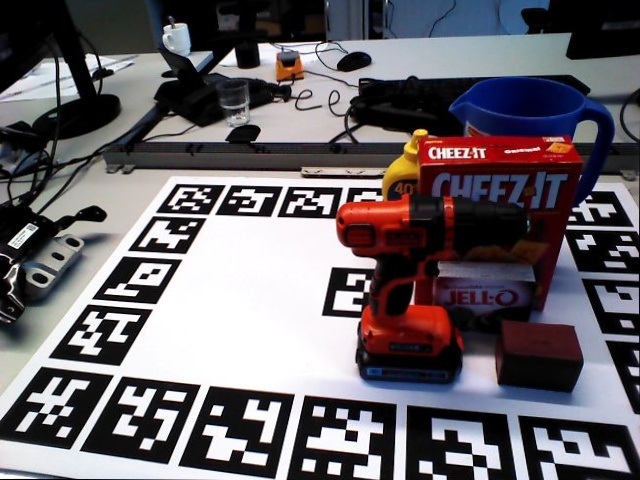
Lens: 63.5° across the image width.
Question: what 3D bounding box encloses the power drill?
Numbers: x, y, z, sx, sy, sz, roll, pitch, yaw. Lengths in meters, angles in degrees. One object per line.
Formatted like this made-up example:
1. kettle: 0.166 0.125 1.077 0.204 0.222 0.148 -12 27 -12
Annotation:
1. power drill: 0.106 0.034 0.526 0.185 0.187 0.057 2 35 11

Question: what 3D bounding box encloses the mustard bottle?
1. mustard bottle: 0.133 -0.079 0.704 0.097 0.192 0.058 11 43 23

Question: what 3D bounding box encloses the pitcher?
1. pitcher: 0.263 -0.084 0.667 0.190 0.243 0.132 5 39 19

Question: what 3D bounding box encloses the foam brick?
1. foam brick: 0.233 0.120 0.560 0.078 0.051 0.052 4 41 15

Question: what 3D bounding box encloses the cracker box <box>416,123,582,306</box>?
1. cracker box: 0.197 -0.019 0.604 0.165 0.214 0.071 -1 36 13

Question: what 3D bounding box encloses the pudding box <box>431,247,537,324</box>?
1. pudding box: 0.186 0.053 0.601 0.114 0.090 0.038 1 37 15
